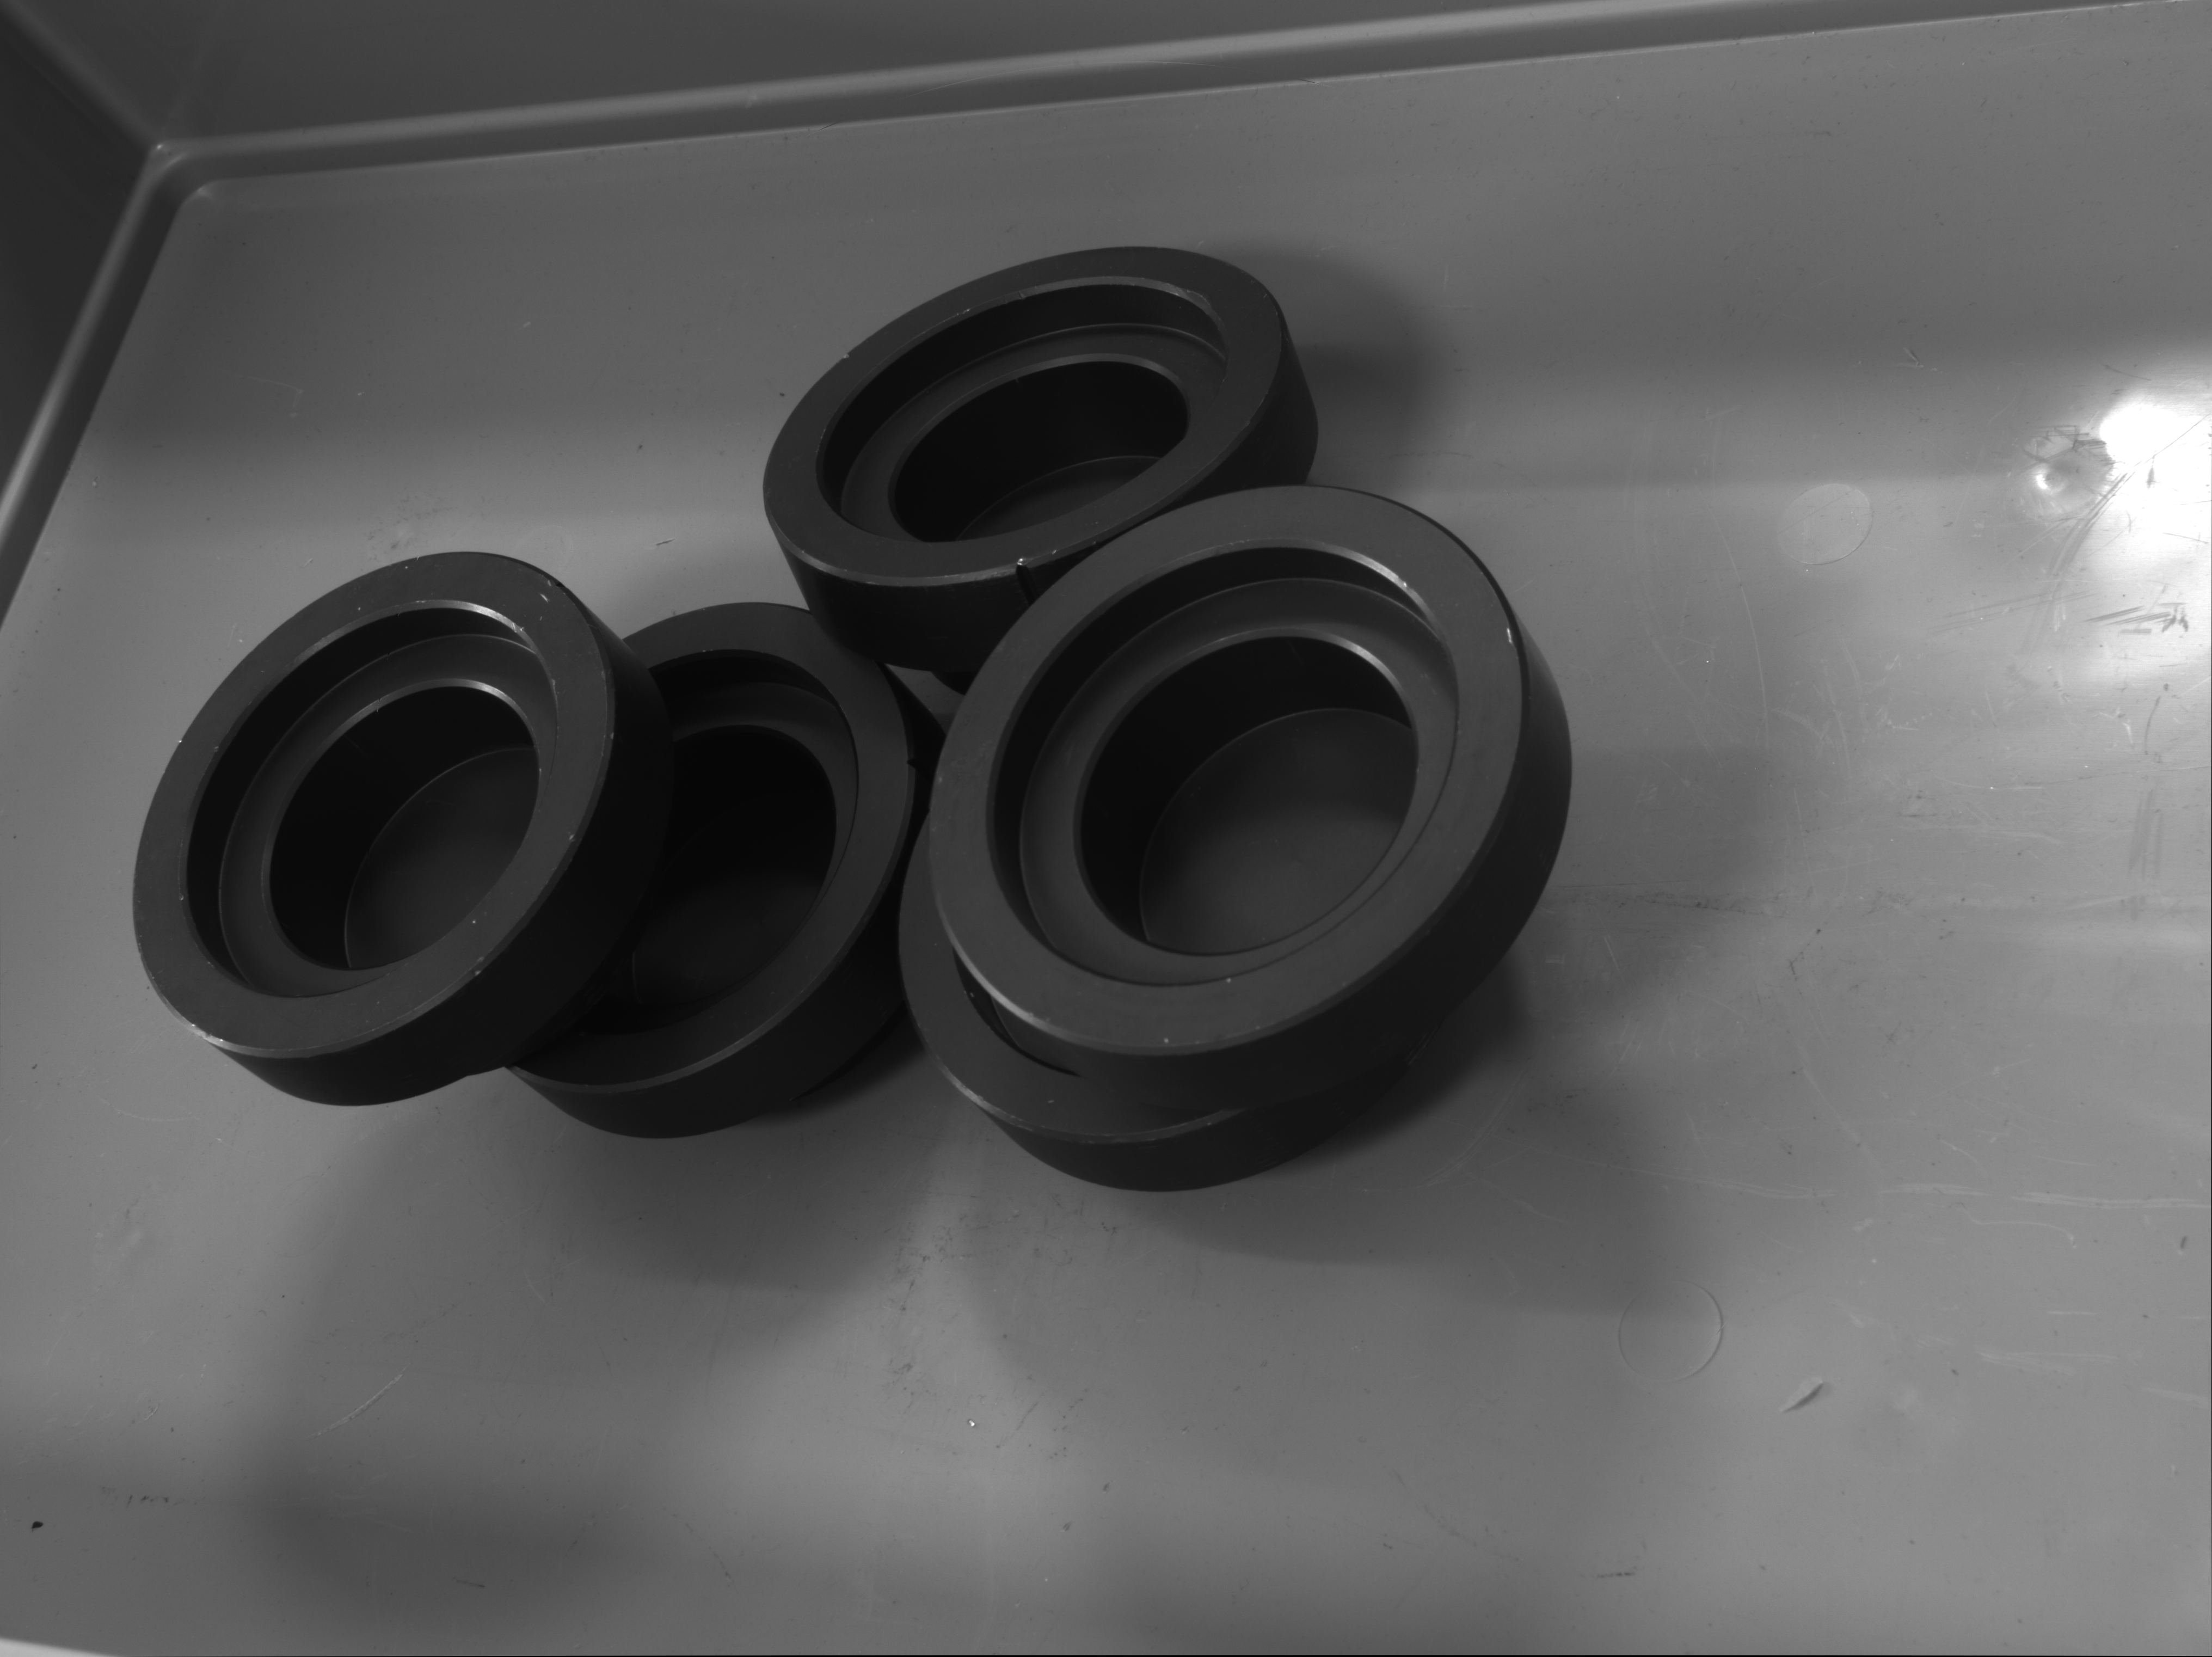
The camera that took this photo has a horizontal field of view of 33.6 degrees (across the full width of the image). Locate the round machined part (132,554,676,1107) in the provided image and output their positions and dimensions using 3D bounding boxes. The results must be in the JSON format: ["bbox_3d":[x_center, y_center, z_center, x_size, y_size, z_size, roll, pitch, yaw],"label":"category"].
[{"bbox_3d":[-0.117,0.004,0.639,0.098,0.042,0.098,-13,56,21],"label":"round machined part"}]

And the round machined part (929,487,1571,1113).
[{"bbox_3d":[0.025,0.000,0.565,0.098,0.042,0.098,-13,56,21],"label":"round machined part"}]

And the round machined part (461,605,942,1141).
[{"bbox_3d":[-0.068,0.012,0.662,0.098,0.042,0.098,-13,56,21],"label":"round machined part"}]

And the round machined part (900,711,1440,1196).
[{"bbox_3d":[0.018,0.017,0.613,0.098,0.042,0.098,-13,56,21],"label":"round machined part"}]

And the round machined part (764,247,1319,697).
[{"bbox_3d":[-0.008,-0.059,0.661,0.098,0.042,0.098,-14,39,12],"label":"round machined part"}]
